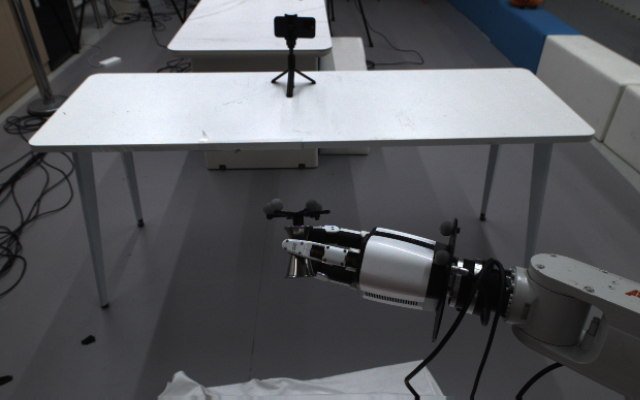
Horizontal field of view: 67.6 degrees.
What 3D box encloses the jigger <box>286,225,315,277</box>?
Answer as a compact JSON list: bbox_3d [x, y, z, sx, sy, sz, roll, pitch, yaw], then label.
[{"bbox_3d":[-0.028,0.069,0.652,0.043,0.071,0.043,-2,-7,0],"label":"jigger"}]
